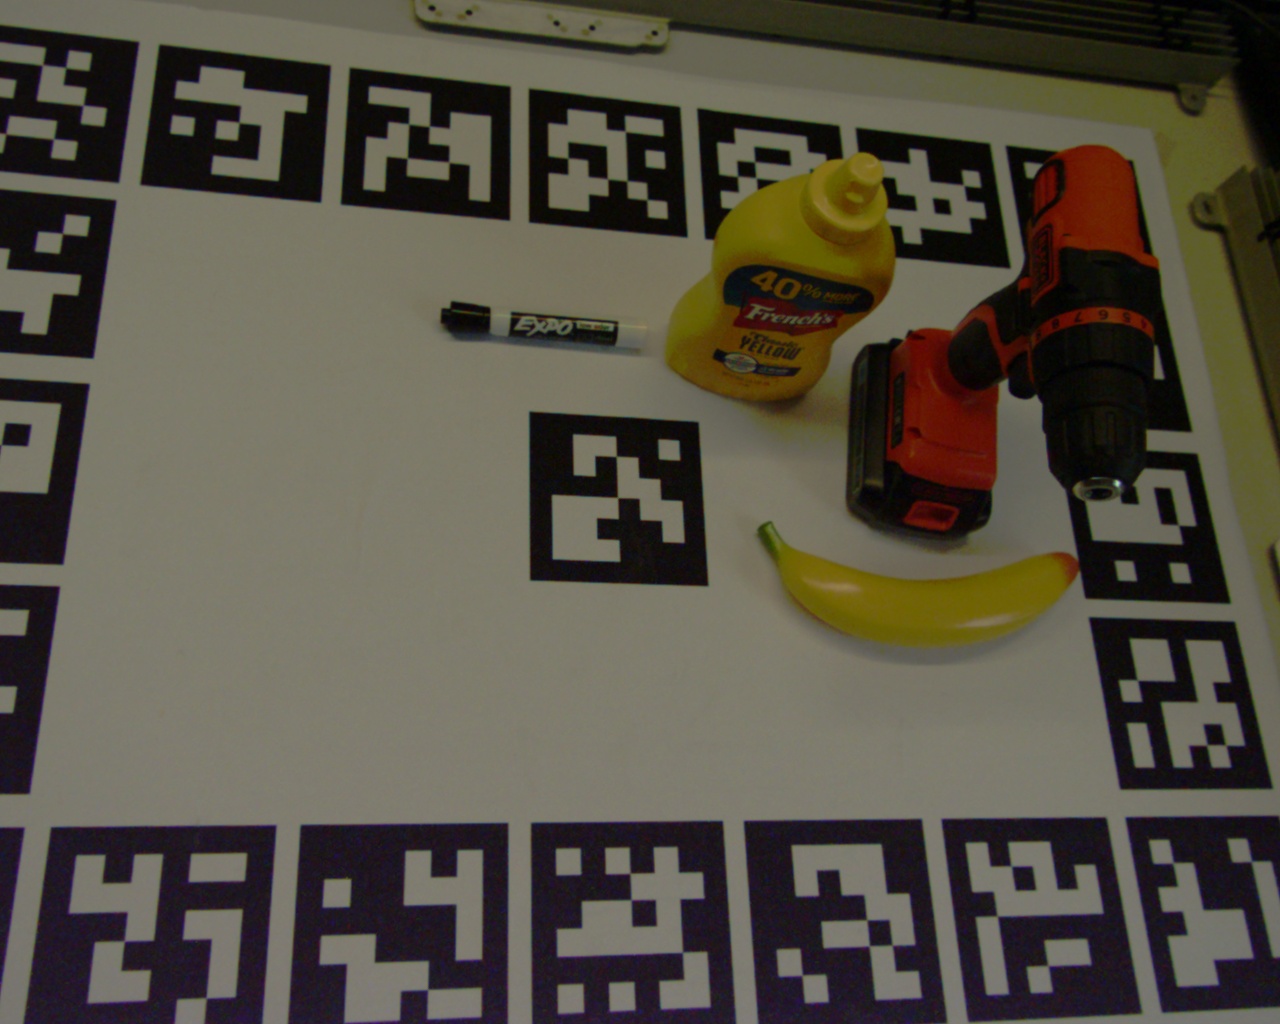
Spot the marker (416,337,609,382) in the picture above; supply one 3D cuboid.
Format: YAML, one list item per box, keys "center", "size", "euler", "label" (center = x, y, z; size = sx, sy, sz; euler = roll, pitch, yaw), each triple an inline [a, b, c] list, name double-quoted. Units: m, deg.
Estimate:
- center: [-0.080, -0.096, 0.718]
  size: [0.120, 0.020, 0.020]
  euler: [3, 72, -11]
  label: "marker"

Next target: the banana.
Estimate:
- center: [0.145, 0.061, 0.707]
  size: [0.196, 0.039, 0.074]
  euler: [9, 72, -8]
  label: "banana"

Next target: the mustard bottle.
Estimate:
- center: [0.063, -0.110, 0.661]
  size: [0.096, 0.192, 0.058]
  euler: [13, 70, -10]
  label: "mustard bottle"

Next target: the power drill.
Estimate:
- center: [0.172, -0.051, 0.647]
  size: [0.057, 0.188, 0.184]
  euler: [15, 67, -10]
  label: "power drill"
